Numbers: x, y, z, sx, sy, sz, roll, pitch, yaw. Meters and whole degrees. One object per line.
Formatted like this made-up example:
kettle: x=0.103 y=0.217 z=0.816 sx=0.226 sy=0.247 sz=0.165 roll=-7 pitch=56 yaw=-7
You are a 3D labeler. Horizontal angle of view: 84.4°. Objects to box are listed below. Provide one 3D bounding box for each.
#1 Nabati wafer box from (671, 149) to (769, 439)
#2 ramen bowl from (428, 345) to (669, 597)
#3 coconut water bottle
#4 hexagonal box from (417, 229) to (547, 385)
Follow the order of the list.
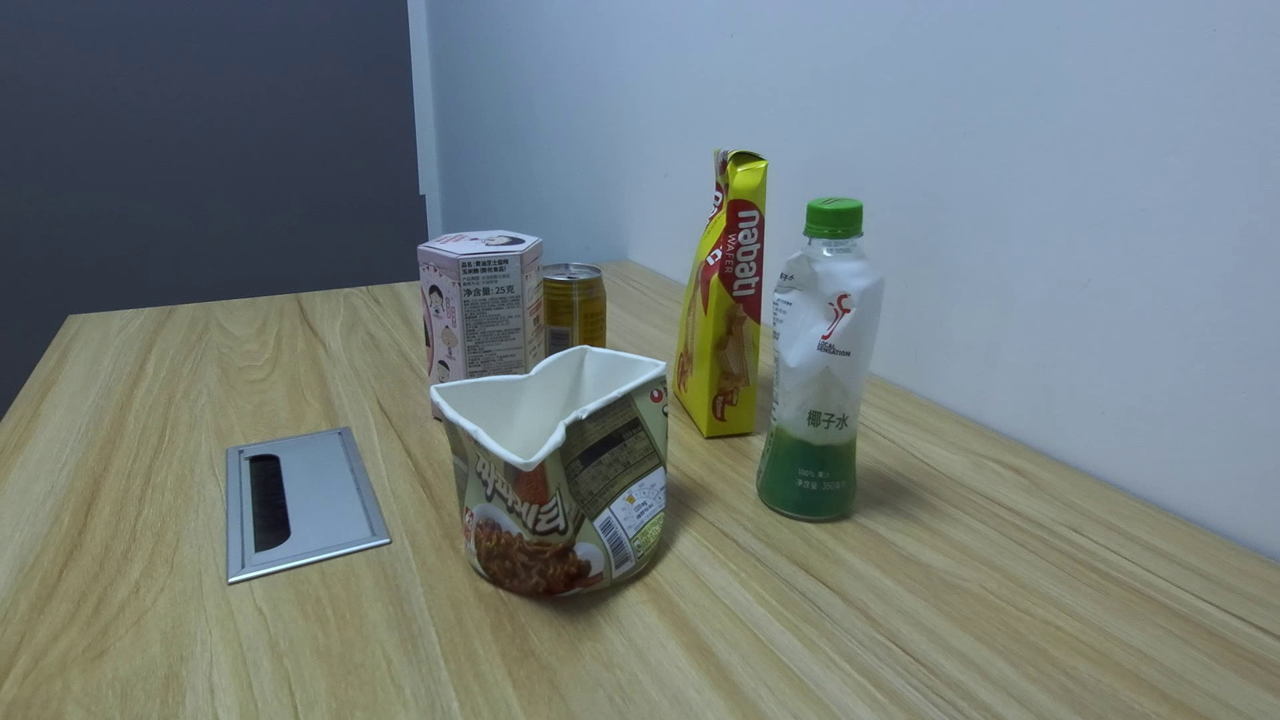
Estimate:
Nabati wafer box: x=0.062 y=-0.052 z=0.532 sx=0.043 sy=0.205 sz=0.113 roll=-1 pitch=19 yaw=-11
ramen bowl: x=-0.038 y=0.057 z=0.395 sx=0.129 sy=0.093 sz=0.111 roll=-18 pitch=29 yaw=-39
coconut water bottle: x=0.108 y=0.000 z=0.421 sx=0.069 sy=0.187 sz=0.069 roll=2 pitch=22 yaw=-1
hexagonal box: x=-0.118 y=-0.024 z=0.539 sx=0.084 sy=0.136 sz=0.091 roll=4 pitch=22 yaw=8
